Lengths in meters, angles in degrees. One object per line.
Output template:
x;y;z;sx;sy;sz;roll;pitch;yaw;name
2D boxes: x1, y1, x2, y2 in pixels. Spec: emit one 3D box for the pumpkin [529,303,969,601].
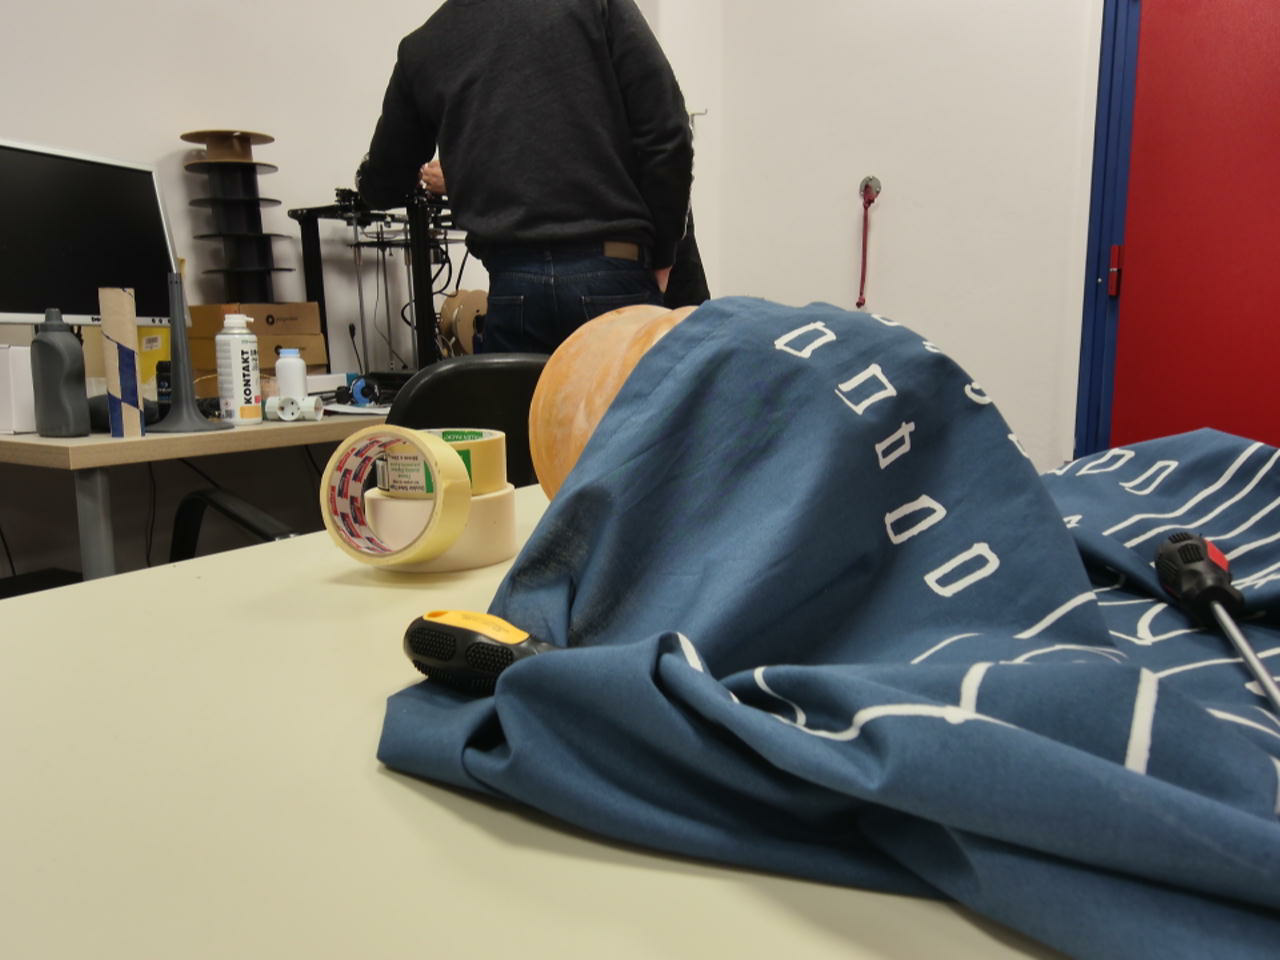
0.062;-0.024;0.636;0.277;0.181;0.277;0;7;0;pumpkin
